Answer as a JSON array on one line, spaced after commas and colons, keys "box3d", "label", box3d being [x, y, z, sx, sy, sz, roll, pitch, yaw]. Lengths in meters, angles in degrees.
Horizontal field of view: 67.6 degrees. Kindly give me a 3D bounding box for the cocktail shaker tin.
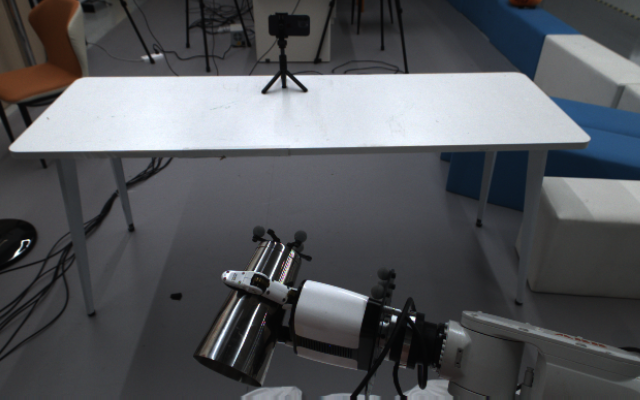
[{"box3d": [-0.085, 0.141, 0.630, 0.093, 0.093, 0.170, 13, 58, 16], "label": "cocktail shaker tin"}]
